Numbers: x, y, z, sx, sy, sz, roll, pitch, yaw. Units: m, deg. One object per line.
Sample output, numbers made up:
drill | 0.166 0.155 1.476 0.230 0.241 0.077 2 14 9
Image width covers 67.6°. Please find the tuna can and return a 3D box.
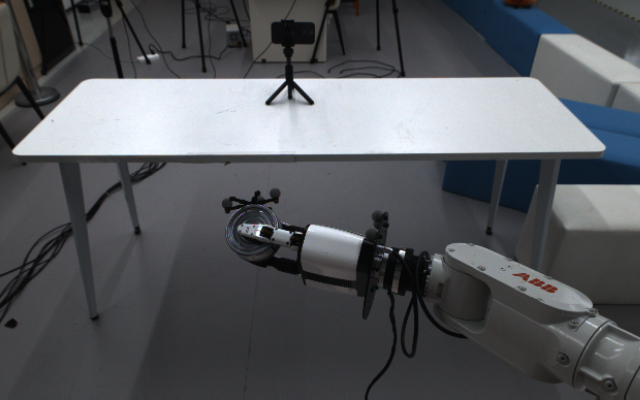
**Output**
tuna can | -0.098 0.056 0.744 0.085 0.034 0.085 -4 68 9
